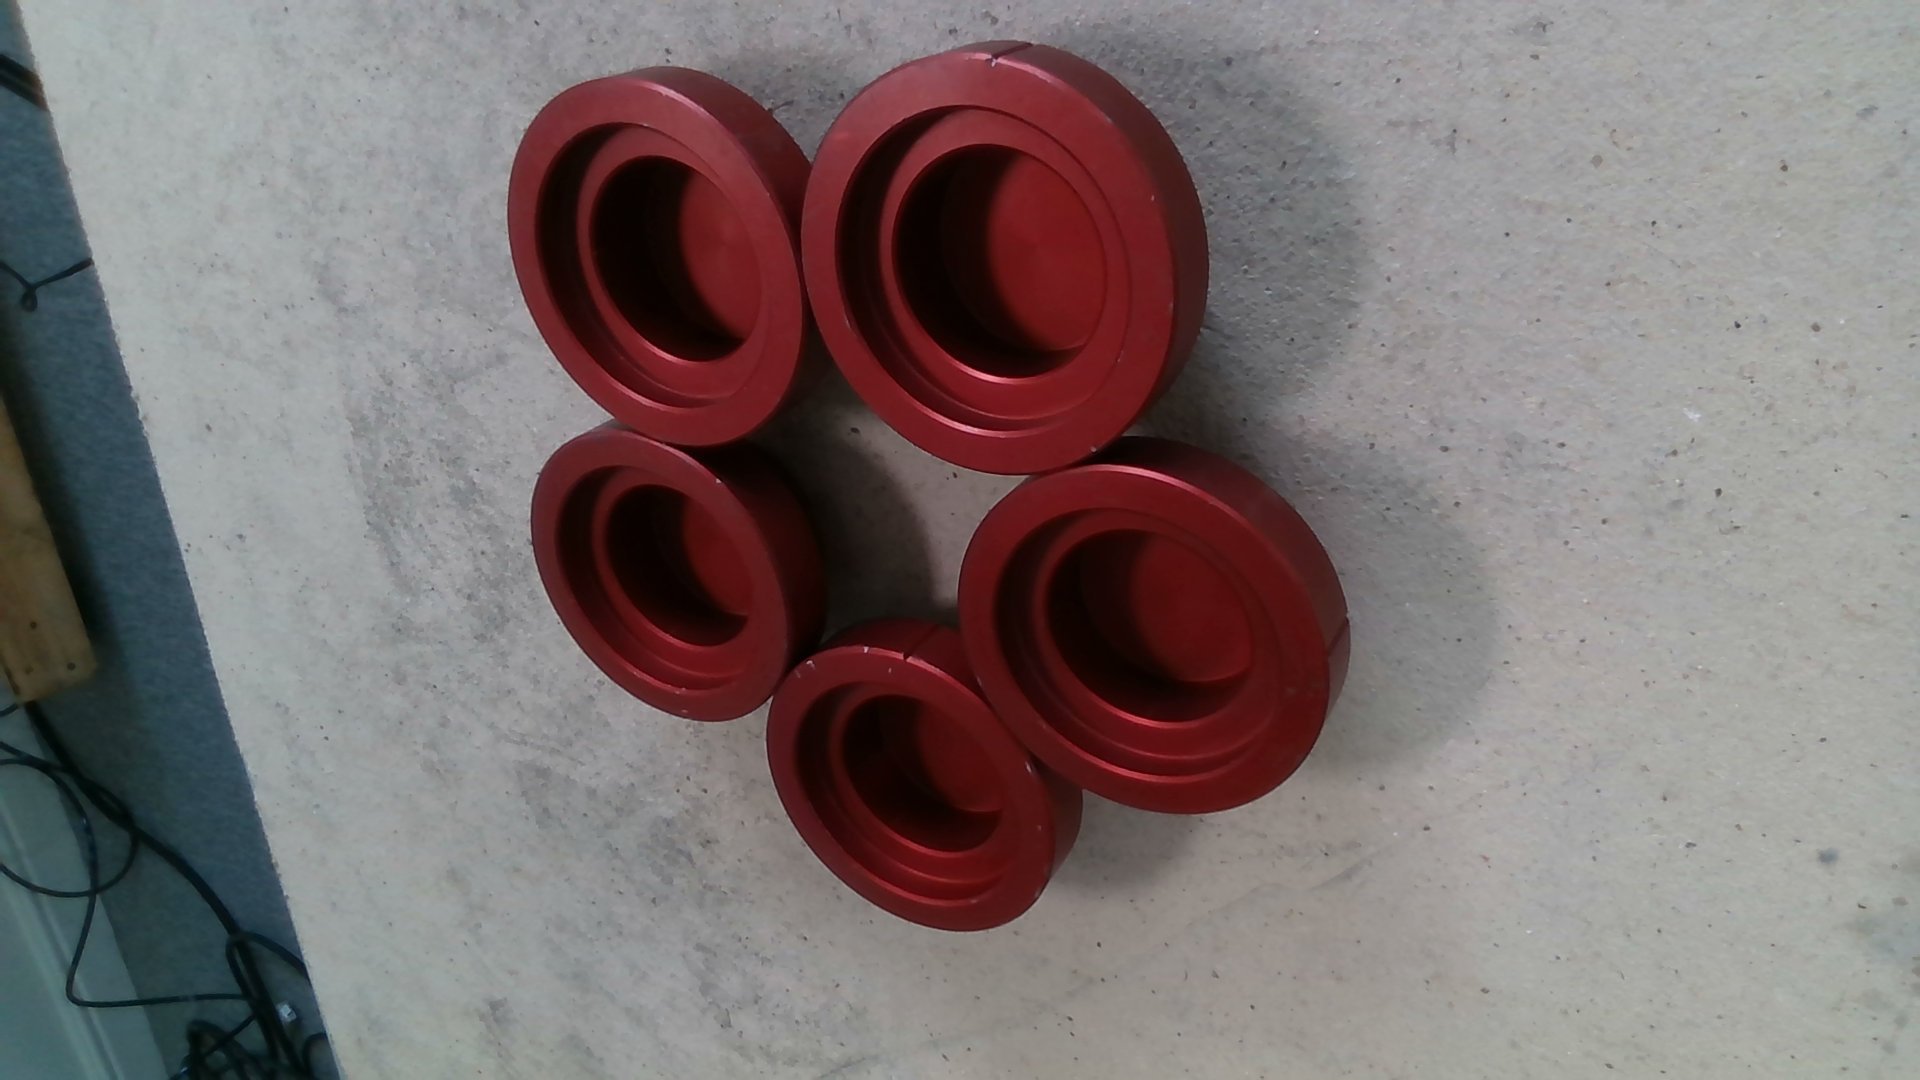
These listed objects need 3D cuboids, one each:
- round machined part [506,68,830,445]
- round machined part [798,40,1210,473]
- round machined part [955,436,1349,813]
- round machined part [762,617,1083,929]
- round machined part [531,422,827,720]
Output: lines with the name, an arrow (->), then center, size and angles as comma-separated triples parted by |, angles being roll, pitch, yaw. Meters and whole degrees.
round machined part -> -0.073, -0.079, 0.379 | 0.098, 0.042, 0.098 | 14, 123, 23
round machined part -> 0.013, -0.069, 0.332 | 0.098, 0.042, 0.098 | 14, 122, 23
round machined part -> 0.051, 0.018, 0.355 | 0.098, 0.042, 0.098 | 14, 123, 23
round machined part -> -0.008, 0.066, 0.418 | 0.098, 0.042, 0.098 | 14, 123, 23
round machined part -> -0.083, 0.004, 0.431 | 0.098, 0.042, 0.098 | 15, 123, 24
